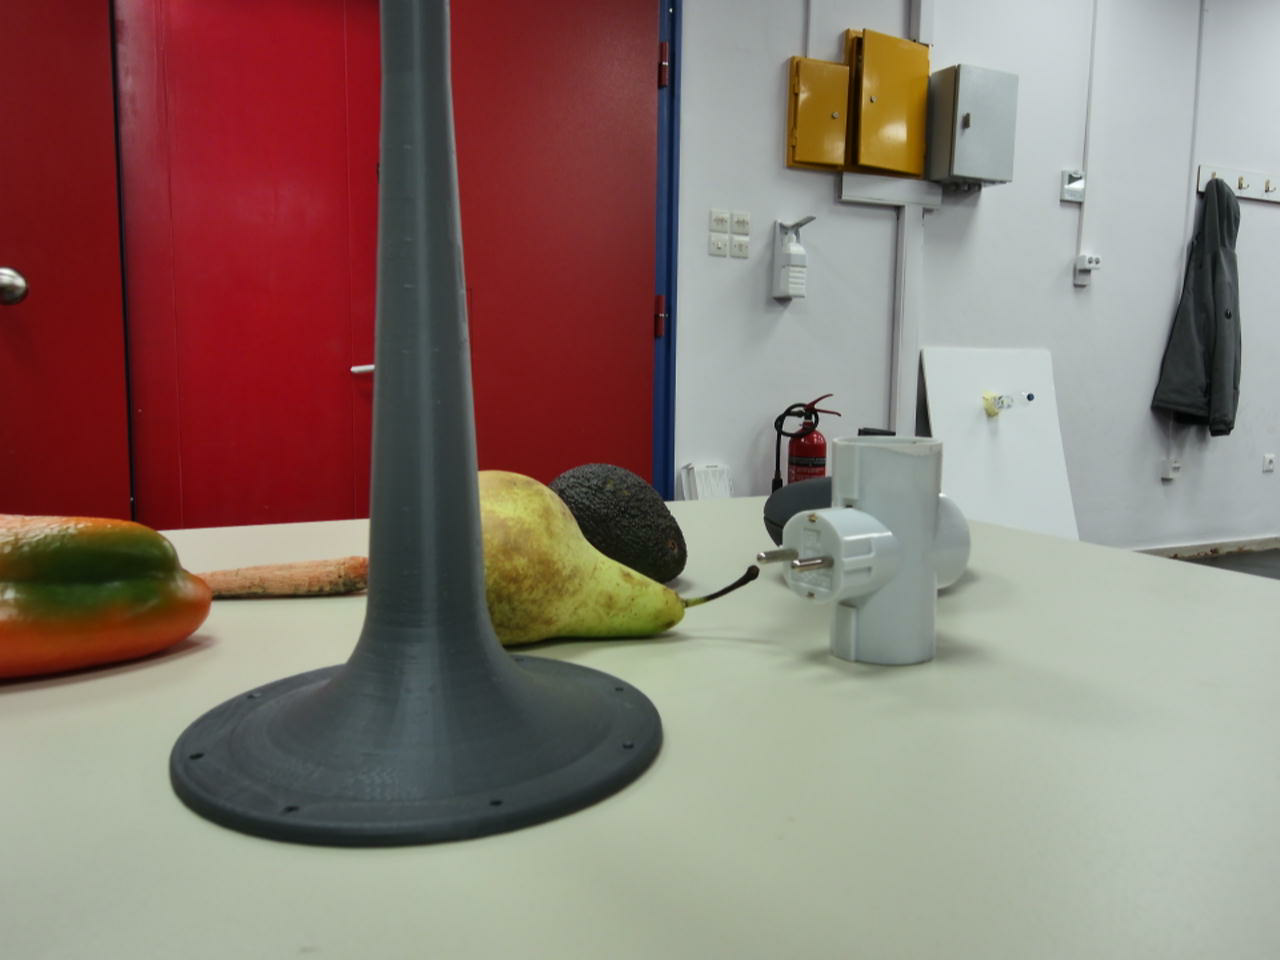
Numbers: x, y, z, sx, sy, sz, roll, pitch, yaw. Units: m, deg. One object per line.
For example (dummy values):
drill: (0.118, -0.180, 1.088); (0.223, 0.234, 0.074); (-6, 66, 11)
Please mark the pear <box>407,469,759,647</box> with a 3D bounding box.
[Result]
pear: (-0.028, 0.033, 0.442); (0.144, 0.075, 0.071); (-2, 4, -18)
